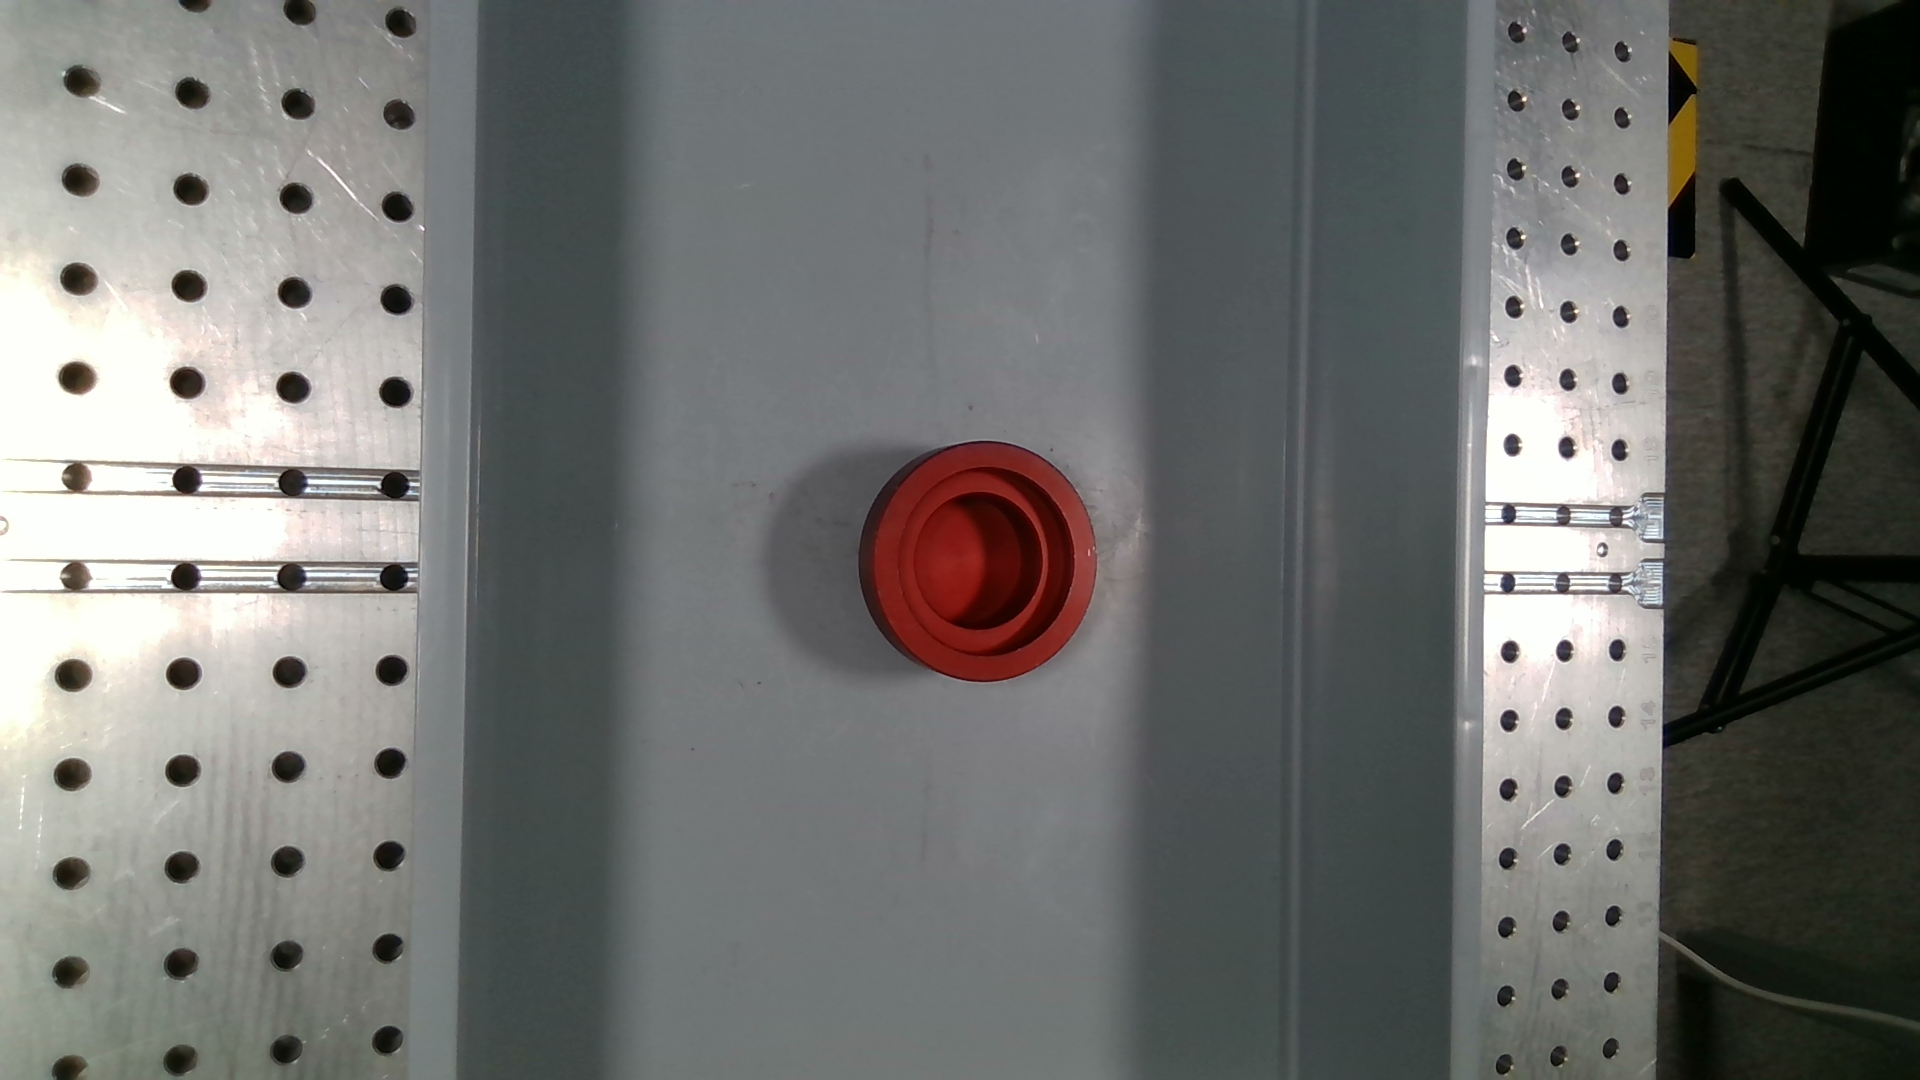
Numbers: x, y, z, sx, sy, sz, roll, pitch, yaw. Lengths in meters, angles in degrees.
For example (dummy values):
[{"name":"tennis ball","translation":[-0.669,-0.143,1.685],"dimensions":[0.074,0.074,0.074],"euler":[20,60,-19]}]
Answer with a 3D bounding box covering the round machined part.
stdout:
[{"name":"round machined part","translation":[0.004,0.009,0.575],"dimensions":[0.098,0.042,0.098],"euler":[0,90,-20]}]
